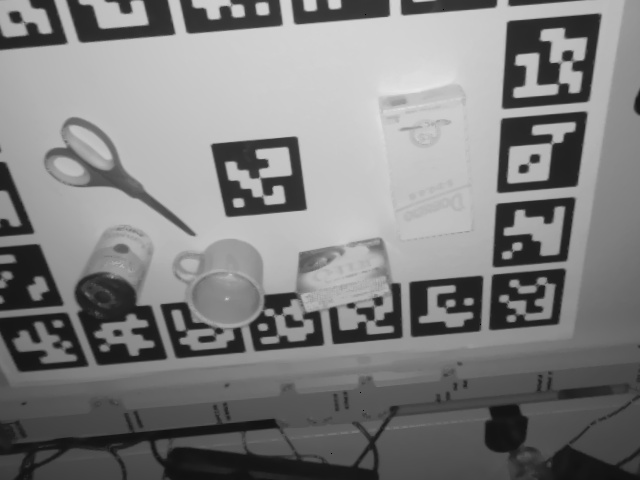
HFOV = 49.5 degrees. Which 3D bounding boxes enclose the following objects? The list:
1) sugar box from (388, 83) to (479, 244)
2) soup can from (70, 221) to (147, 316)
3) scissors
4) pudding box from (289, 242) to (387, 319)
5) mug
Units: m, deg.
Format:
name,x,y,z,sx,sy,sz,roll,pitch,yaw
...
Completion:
name,x,y,z,sx,sy,sz,roll,pitch,yaw
sugar box,0.132,-0.084,0.794,0.093,0.045,0.175,-8,119,0
soup can,-0.245,0.031,0.815,0.068,0.103,0.067,-2,122,-2
scissors,-0.230,-0.069,0.795,0.204,0.016,0.087,39,102,-21
pudding box,0.022,0.048,0.832,0.113,0.090,0.038,-12,114,5
mug,-0.127,0.055,0.838,0.092,0.082,0.117,-37,117,16
